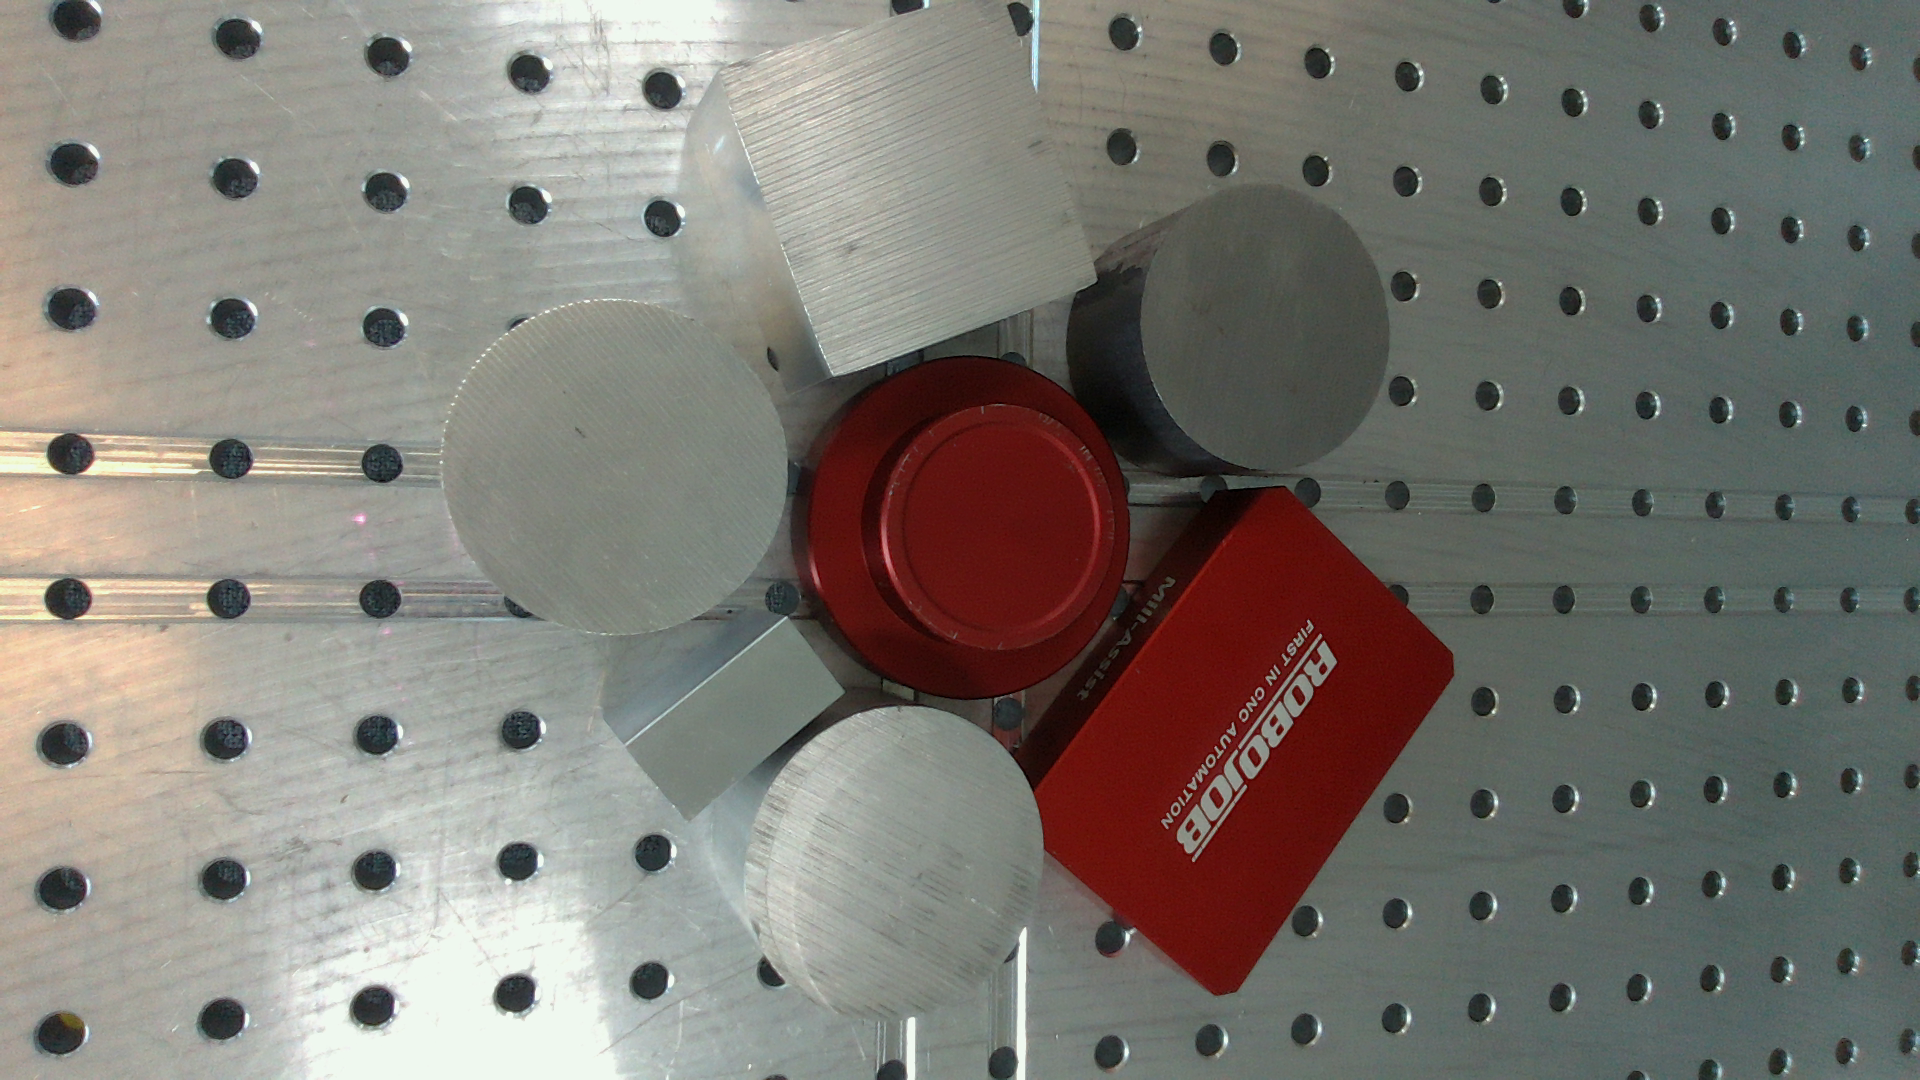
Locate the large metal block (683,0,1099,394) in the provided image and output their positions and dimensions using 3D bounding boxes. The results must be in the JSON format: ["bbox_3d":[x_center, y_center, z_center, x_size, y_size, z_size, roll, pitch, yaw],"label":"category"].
[{"bbox_3d":[-0.020,-0.093,0.375,0.080,0.050,0.080,-23,98,-18],"label":"large metal block"}]

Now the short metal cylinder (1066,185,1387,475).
[{"bbox_3d":[0.078,-0.060,0.411,0.080,0.050,0.080,0,90,-20],"label":"short metal cylinder"}]

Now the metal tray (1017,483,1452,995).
[{"bbox_3d":[0.082,0.058,0.422,0.090,0.030,0.130,42,76,-15],"label":"metal tray"}]

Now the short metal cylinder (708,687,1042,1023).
[{"bbox_3d":[-0.024,0.083,0.373,0.080,0.050,0.080,0,90,-20],"label":"short metal cylinder"}]

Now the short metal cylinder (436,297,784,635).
[{"bbox_3d":[-0.089,-0.018,0.349,0.080,0.050,0.080,0,90,-20],"label":"short metal cylinder"}]

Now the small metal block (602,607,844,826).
[{"bbox_3d":[-0.063,0.044,0.359,0.050,0.050,0.025,-39,102,-16],"label":"small metal block"}]

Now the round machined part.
[{"bbox_3d":[0.004,-0.004,0.388,0.098,0.042,0.098,0,90,-20],"label":"round machined part"}]
